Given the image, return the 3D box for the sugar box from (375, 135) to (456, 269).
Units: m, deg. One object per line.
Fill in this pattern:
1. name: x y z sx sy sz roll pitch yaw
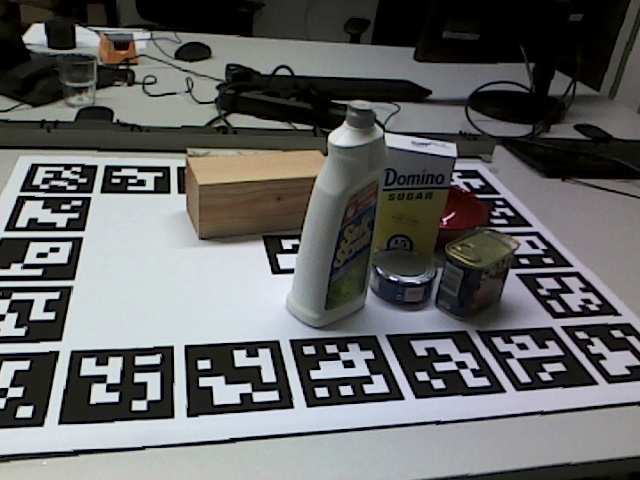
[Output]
1. sugar box: 0.119 -0.045 0.812 0.093 0.176 0.045 7 32 7

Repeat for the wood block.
1. wood block: -0.087 -0.066 0.903 0.205 0.090 0.091 -6 37 -22

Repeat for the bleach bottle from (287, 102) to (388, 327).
1. bleach bottle: 0.022 -0.028 0.696 0.102 0.250 0.068 -17 37 -35

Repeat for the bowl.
1. bowl: 0.172 -0.035 0.931 0.161 0.055 0.162 2 31 -1

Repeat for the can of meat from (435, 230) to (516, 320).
1. can of meat: 0.193 0.044 0.780 0.101 0.083 0.058 -19 36 -40

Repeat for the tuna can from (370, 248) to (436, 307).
1. tuna can: 0.103 0.047 0.791 0.085 0.033 0.086 5 33 -4
